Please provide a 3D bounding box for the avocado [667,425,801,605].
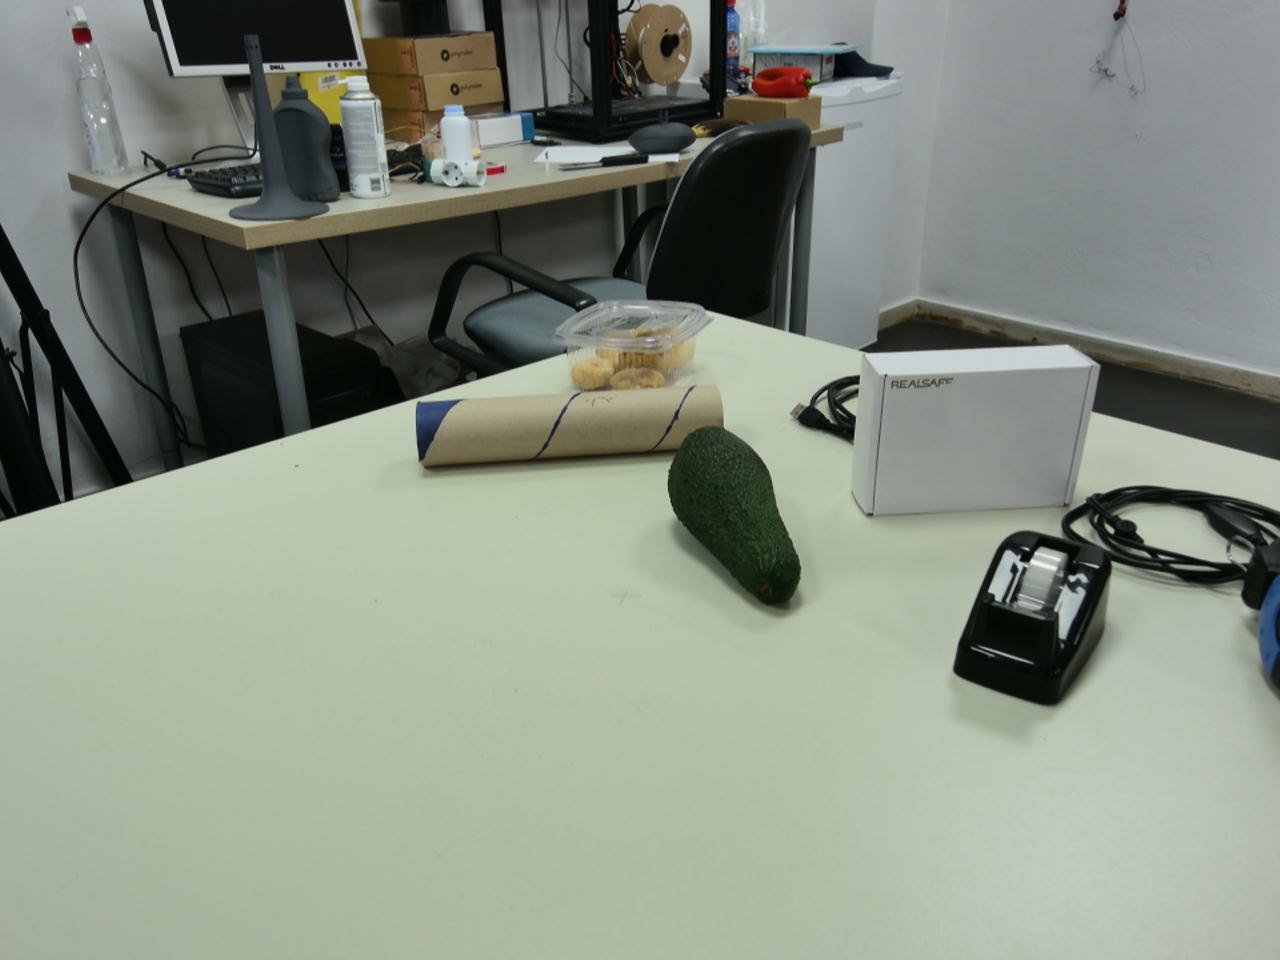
[{"bbox_3d":[0.062,0.014,0.593,0.063,0.067,0.141,-12,27,-24],"label":"avocado"}]
